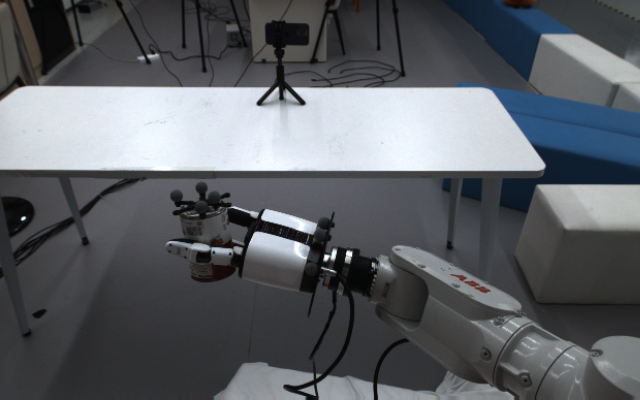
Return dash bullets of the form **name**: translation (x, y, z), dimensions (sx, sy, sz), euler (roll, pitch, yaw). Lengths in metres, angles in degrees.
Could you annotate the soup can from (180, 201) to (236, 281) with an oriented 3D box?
- **soup can**: translation (-0.159, 0.059, 0.693), dimensions (0.067, 0.101, 0.067), euler (-4, 21, 1)
